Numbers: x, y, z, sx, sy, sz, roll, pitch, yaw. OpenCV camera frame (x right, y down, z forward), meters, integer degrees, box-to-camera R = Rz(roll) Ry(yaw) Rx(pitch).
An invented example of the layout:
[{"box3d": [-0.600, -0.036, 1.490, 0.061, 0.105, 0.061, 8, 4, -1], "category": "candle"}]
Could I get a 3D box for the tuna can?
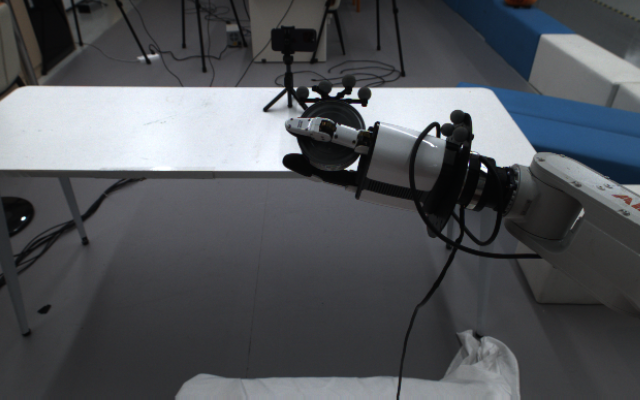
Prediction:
[{"box3d": [0.014, -0.082, 0.608, 0.085, 0.034, 0.085, -1, 74, 4], "category": "tuna can"}]
